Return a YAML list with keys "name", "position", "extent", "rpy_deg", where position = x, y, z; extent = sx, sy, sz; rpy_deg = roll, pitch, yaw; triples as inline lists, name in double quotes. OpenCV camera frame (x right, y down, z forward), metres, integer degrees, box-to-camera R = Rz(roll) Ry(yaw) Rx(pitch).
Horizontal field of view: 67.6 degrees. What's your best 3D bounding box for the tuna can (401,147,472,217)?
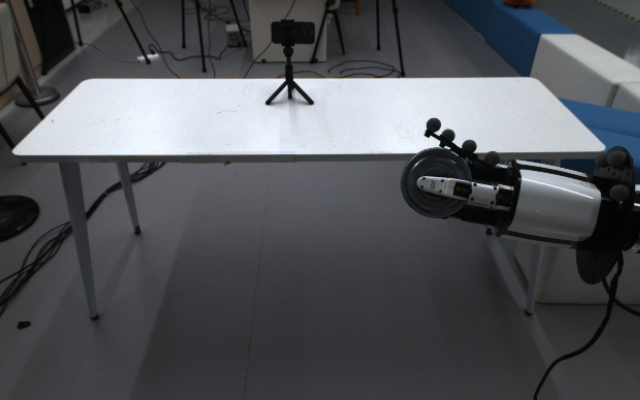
- name: "tuna can"
  position: [0.144, -0.023, 0.592]
  extent: [0.085, 0.085, 0.034]
  rpy_deg: [12, 5, 15]
